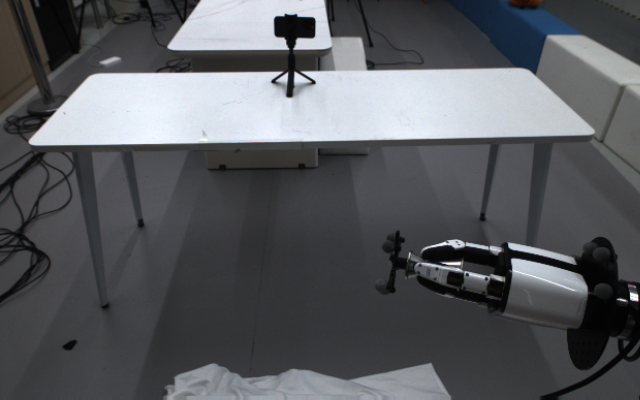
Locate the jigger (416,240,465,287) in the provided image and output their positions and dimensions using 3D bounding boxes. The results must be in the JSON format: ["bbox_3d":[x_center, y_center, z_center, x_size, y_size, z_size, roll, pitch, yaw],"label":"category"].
[{"bbox_3d":[0.154,0.085,0.624,0.071,0.043,0.043,8,35,16],"label":"jigger"}]
